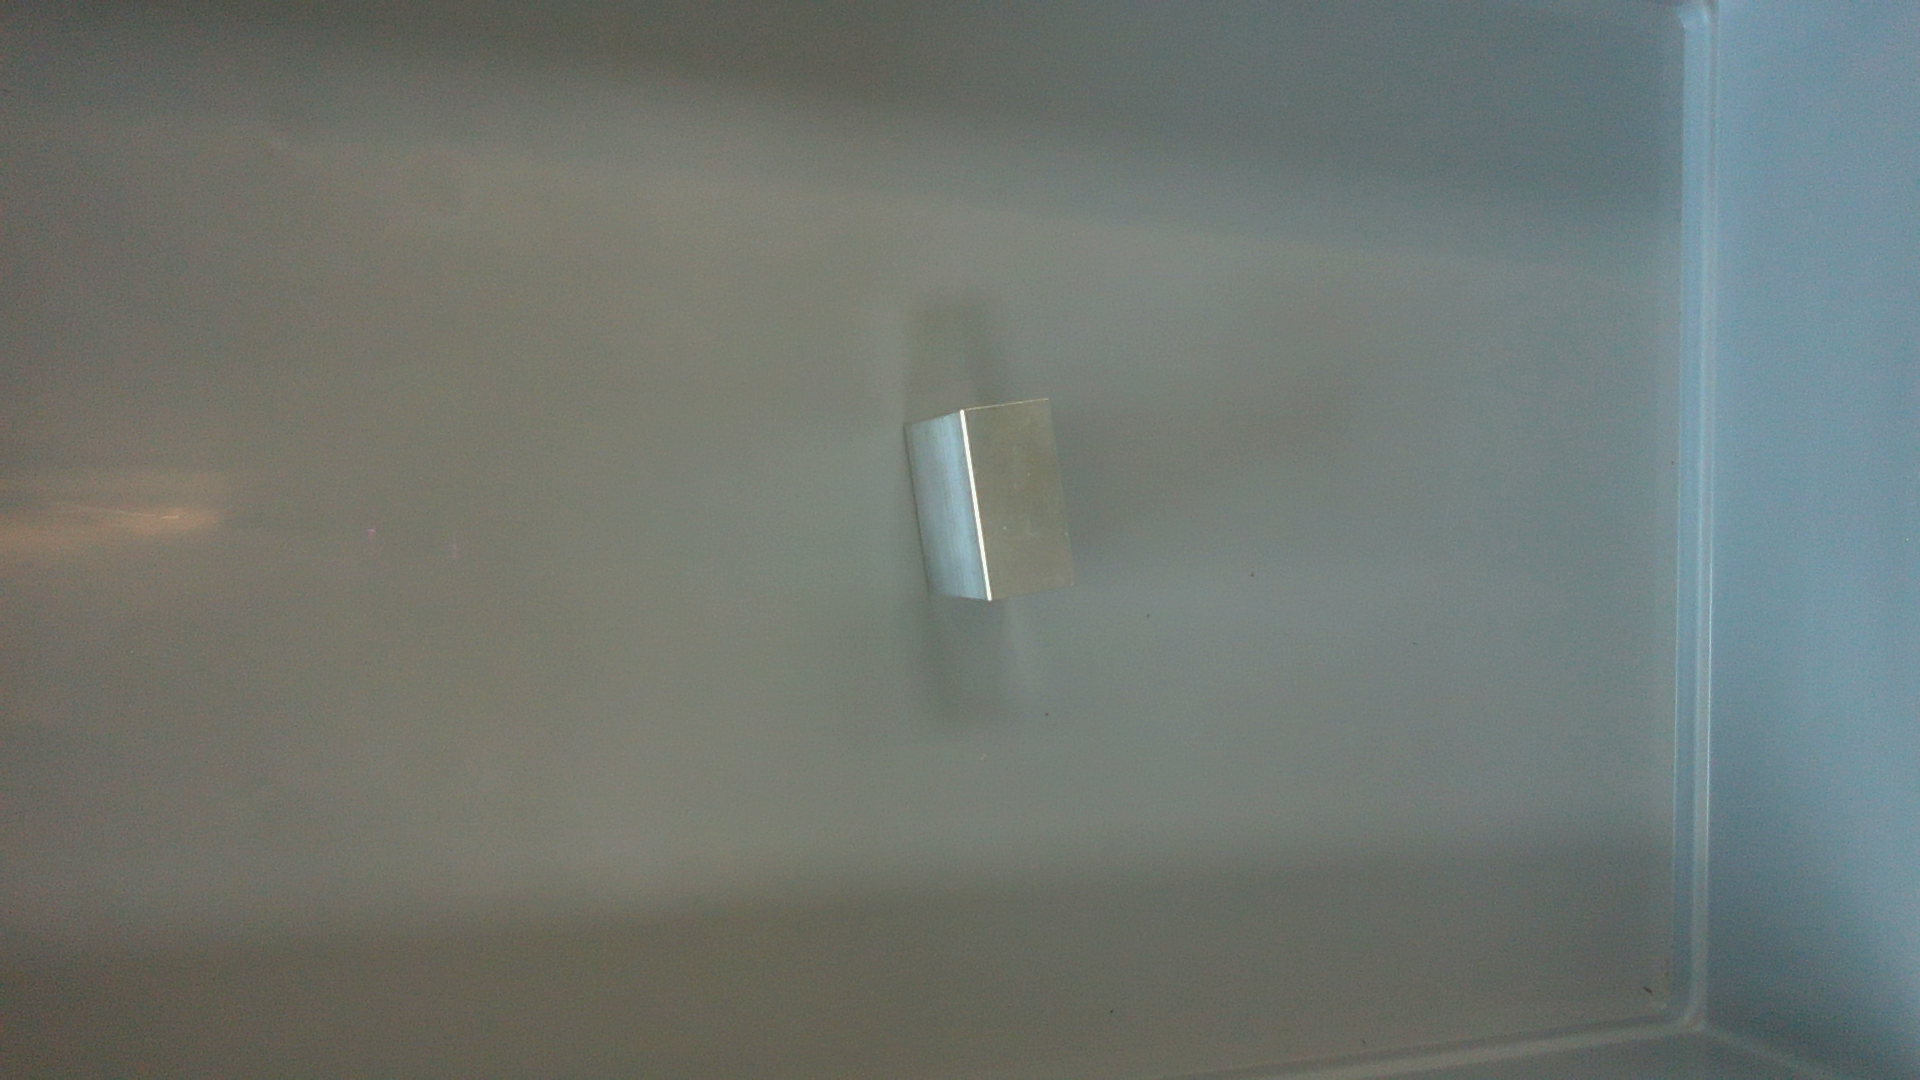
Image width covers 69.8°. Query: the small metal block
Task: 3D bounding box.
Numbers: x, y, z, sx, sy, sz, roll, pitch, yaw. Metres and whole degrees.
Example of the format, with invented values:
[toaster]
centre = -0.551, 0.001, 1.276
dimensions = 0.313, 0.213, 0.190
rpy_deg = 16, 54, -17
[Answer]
[small metal block]
centre = 0.007, -0.011, 0.379
dimensions = 0.025, 0.050, 0.050
rpy_deg = -9, 93, -19
